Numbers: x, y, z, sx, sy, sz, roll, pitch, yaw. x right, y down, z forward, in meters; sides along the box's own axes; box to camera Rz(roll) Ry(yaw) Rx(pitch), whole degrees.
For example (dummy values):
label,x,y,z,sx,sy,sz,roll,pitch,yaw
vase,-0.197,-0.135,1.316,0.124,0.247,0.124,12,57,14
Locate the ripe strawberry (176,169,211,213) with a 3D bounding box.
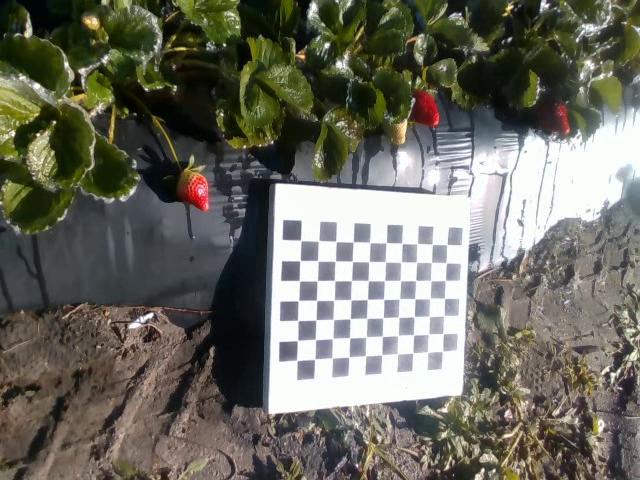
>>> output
label,x,y,z,sx,sy,sz,roll,pitch,yaw
ripe strawberry,-0.133,-0.052,0.652,0.039,0.053,0.040,-22,-5,-23
